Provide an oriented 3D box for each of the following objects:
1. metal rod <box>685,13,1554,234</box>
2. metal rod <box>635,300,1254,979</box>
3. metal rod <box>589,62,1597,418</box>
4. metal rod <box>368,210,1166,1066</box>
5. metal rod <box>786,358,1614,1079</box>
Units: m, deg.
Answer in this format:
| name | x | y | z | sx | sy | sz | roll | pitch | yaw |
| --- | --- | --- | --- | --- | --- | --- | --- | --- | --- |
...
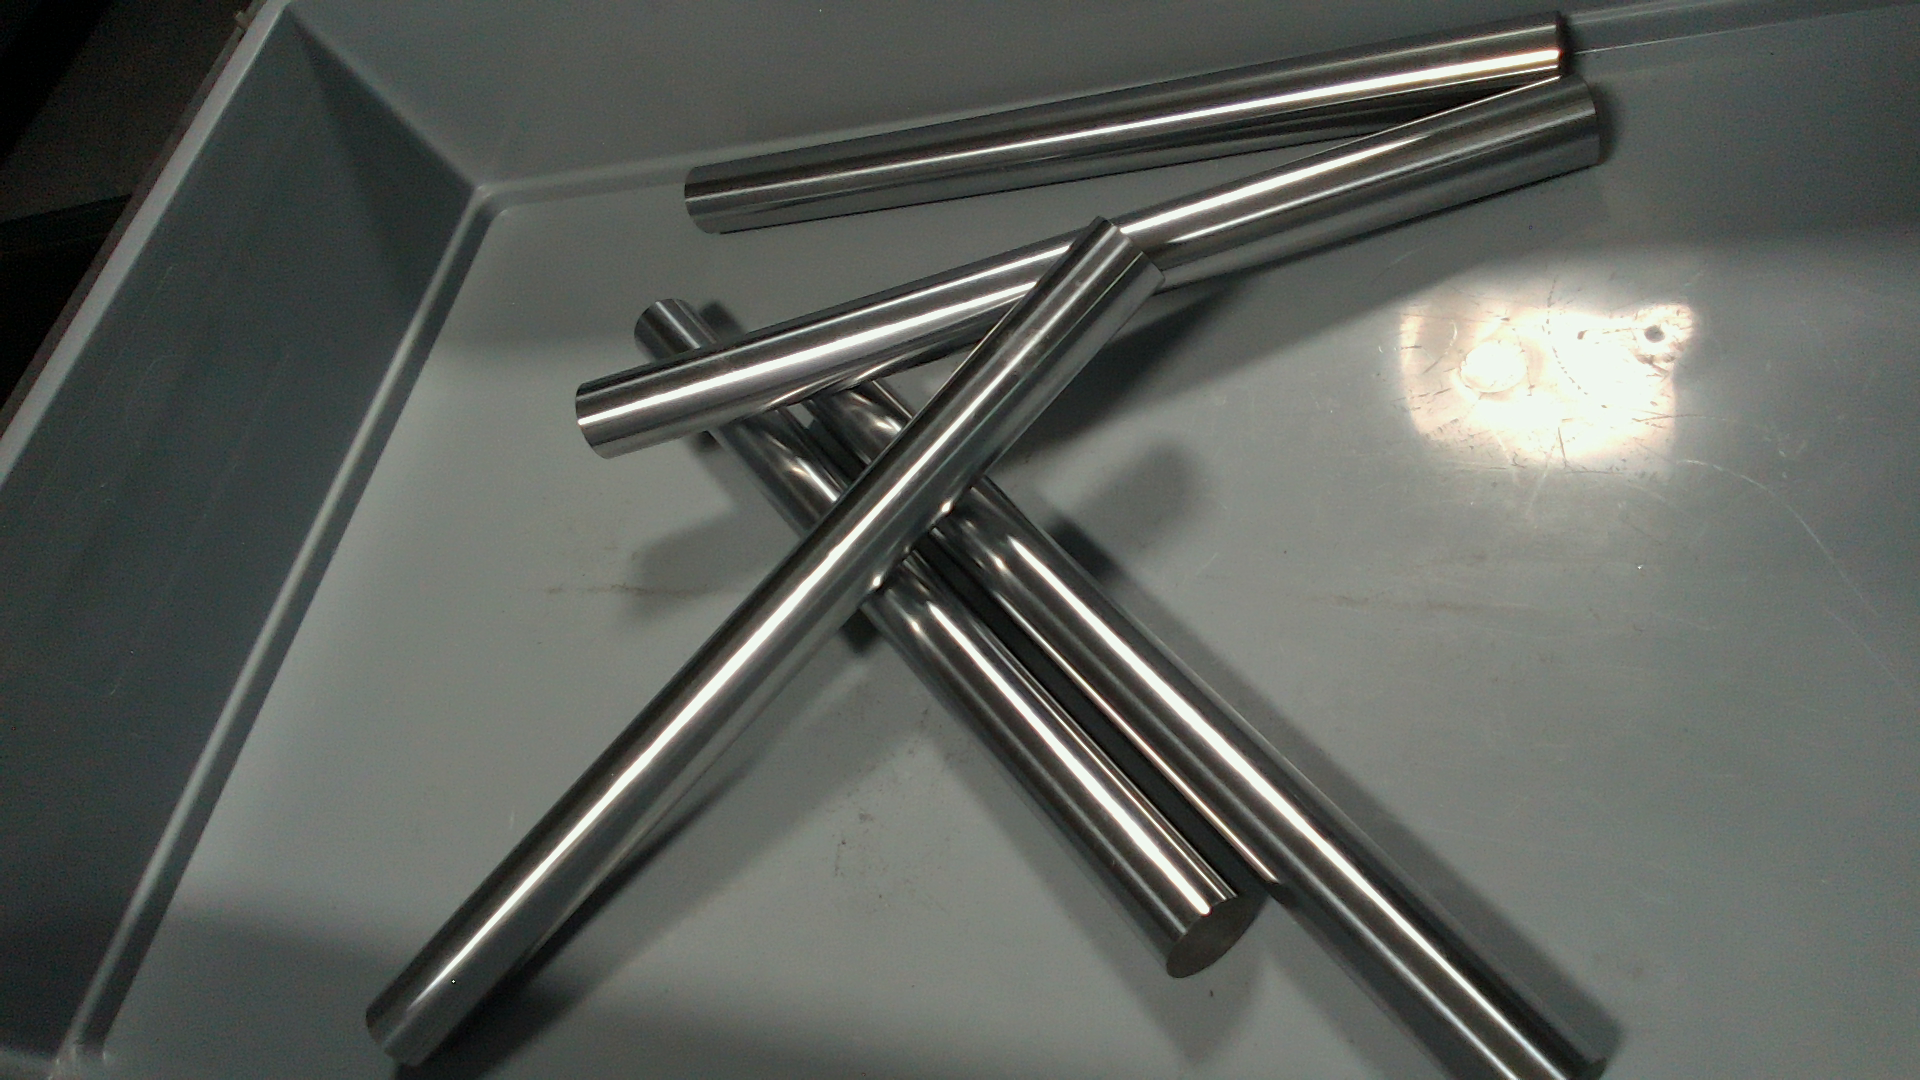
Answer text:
| name | x | y | z | sx | sy | sz | roll | pitch | yaw |
| --- | --- | --- | --- | --- | --- | --- | --- | --- | --- |
| metal rod | 0.035 | -0.132 | 0.456 | 0.299 | 0.025 | 0.025 | -1 | 61 | 28 |
| metal rod | -0.025 | 0.007 | 0.403 | 0.025 | 0.025 | 0.299 | -43 | 51 | -2 |
| metal rod | 0.028 | -0.085 | 0.410 | 0.299 | 0.025 | 0.025 | -13 | 56 | 14 |
| metal rod | -0.056 | 0.031 | 0.378 | 0.300 | 0.025 | 0.025 | -47 | 50 | 6 |
| metal rod | 0.035 | 0.026 | 0.359 | 0.025 | 0.025 | 0.299 | -43 | 51 | -2 |
